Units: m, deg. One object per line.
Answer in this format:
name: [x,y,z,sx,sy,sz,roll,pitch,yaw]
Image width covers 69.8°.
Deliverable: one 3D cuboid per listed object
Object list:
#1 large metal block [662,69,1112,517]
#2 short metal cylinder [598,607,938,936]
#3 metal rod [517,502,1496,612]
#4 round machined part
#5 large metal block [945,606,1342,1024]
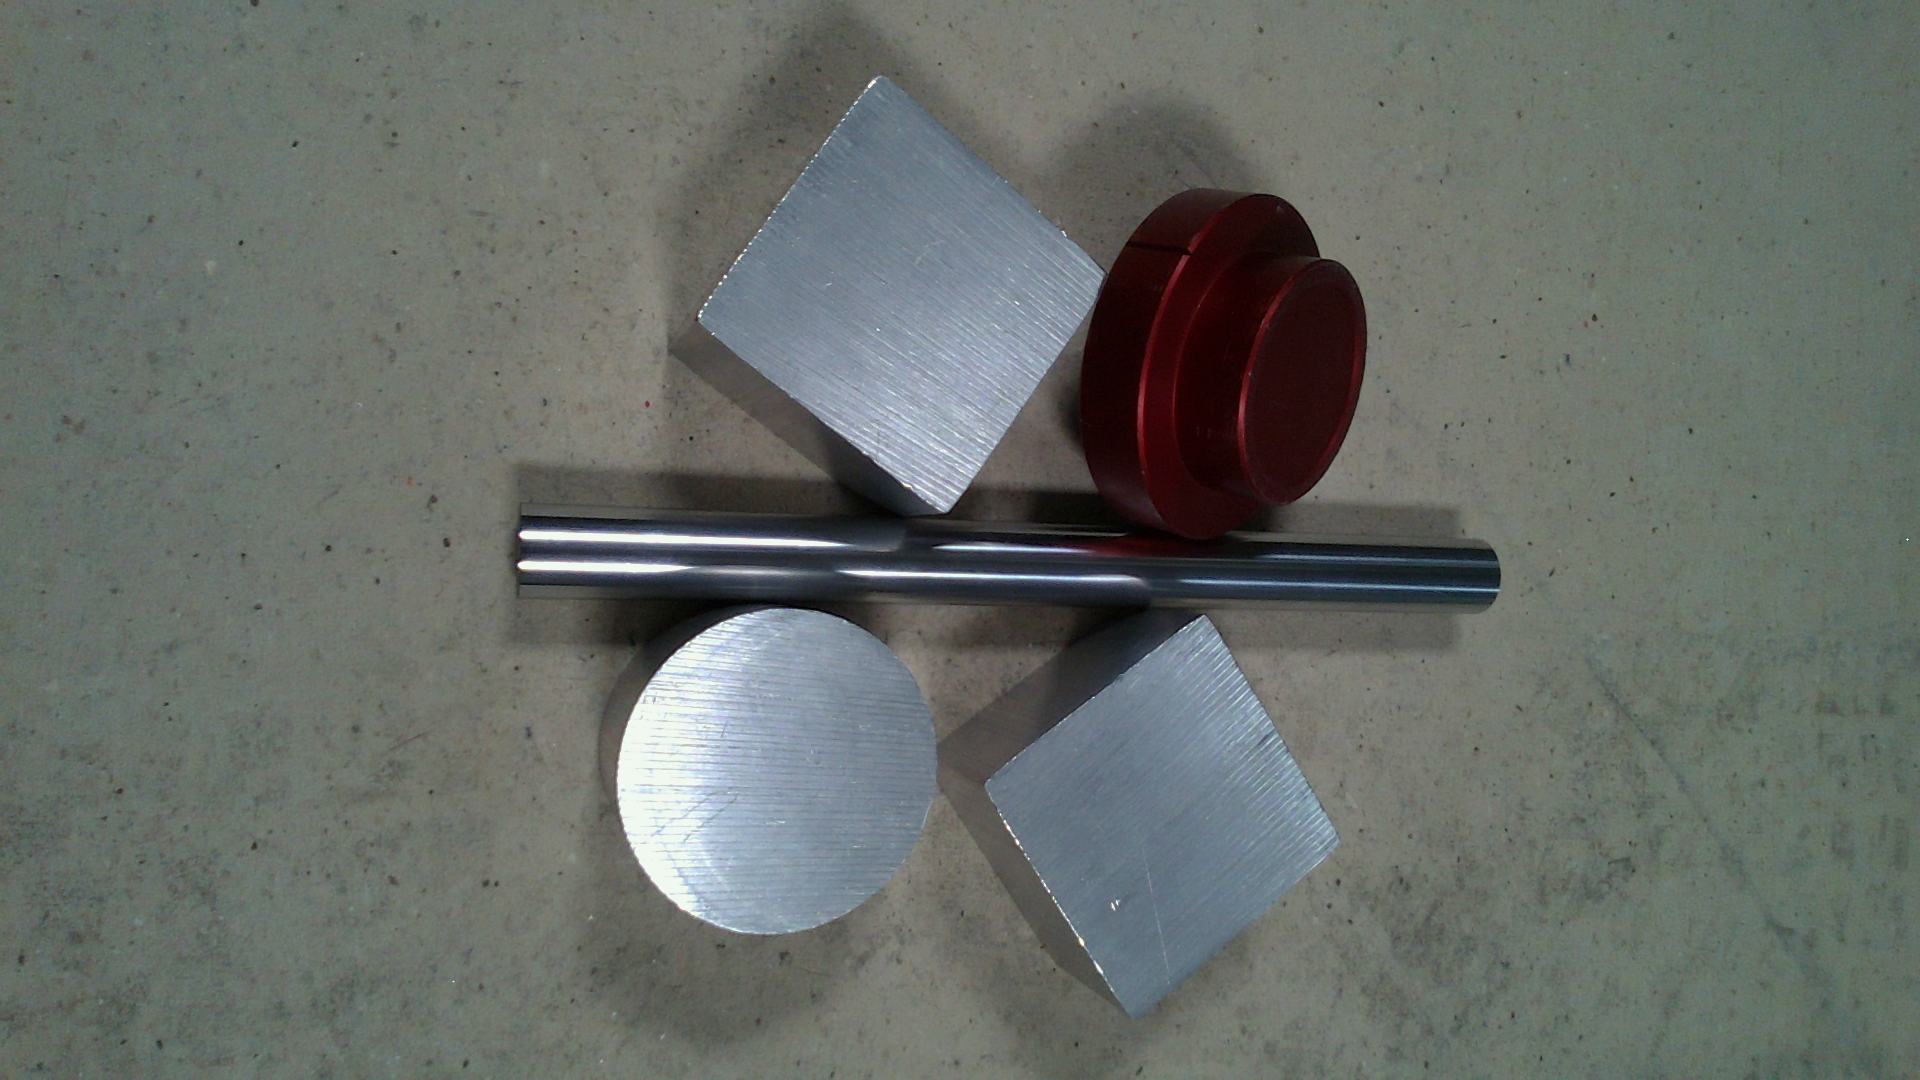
large metal block: [-0.020,-0.062,0.371,0.080,0.050,0.080,38,78,-16]
short metal cylinder: [-0.052,0.057,0.362,0.080,0.050,0.080,0,90,-20]
metal rod: [0.028,0.007,0.405,0.301,0.025,0.025,2,89,-20]
round machined part: [0.079,-0.048,0.388,0.098,0.042,0.098,-20,118,-42]
large metal block: [0.049,0.075,0.398,0.080,0.050,0.080,-35,101,-16]
